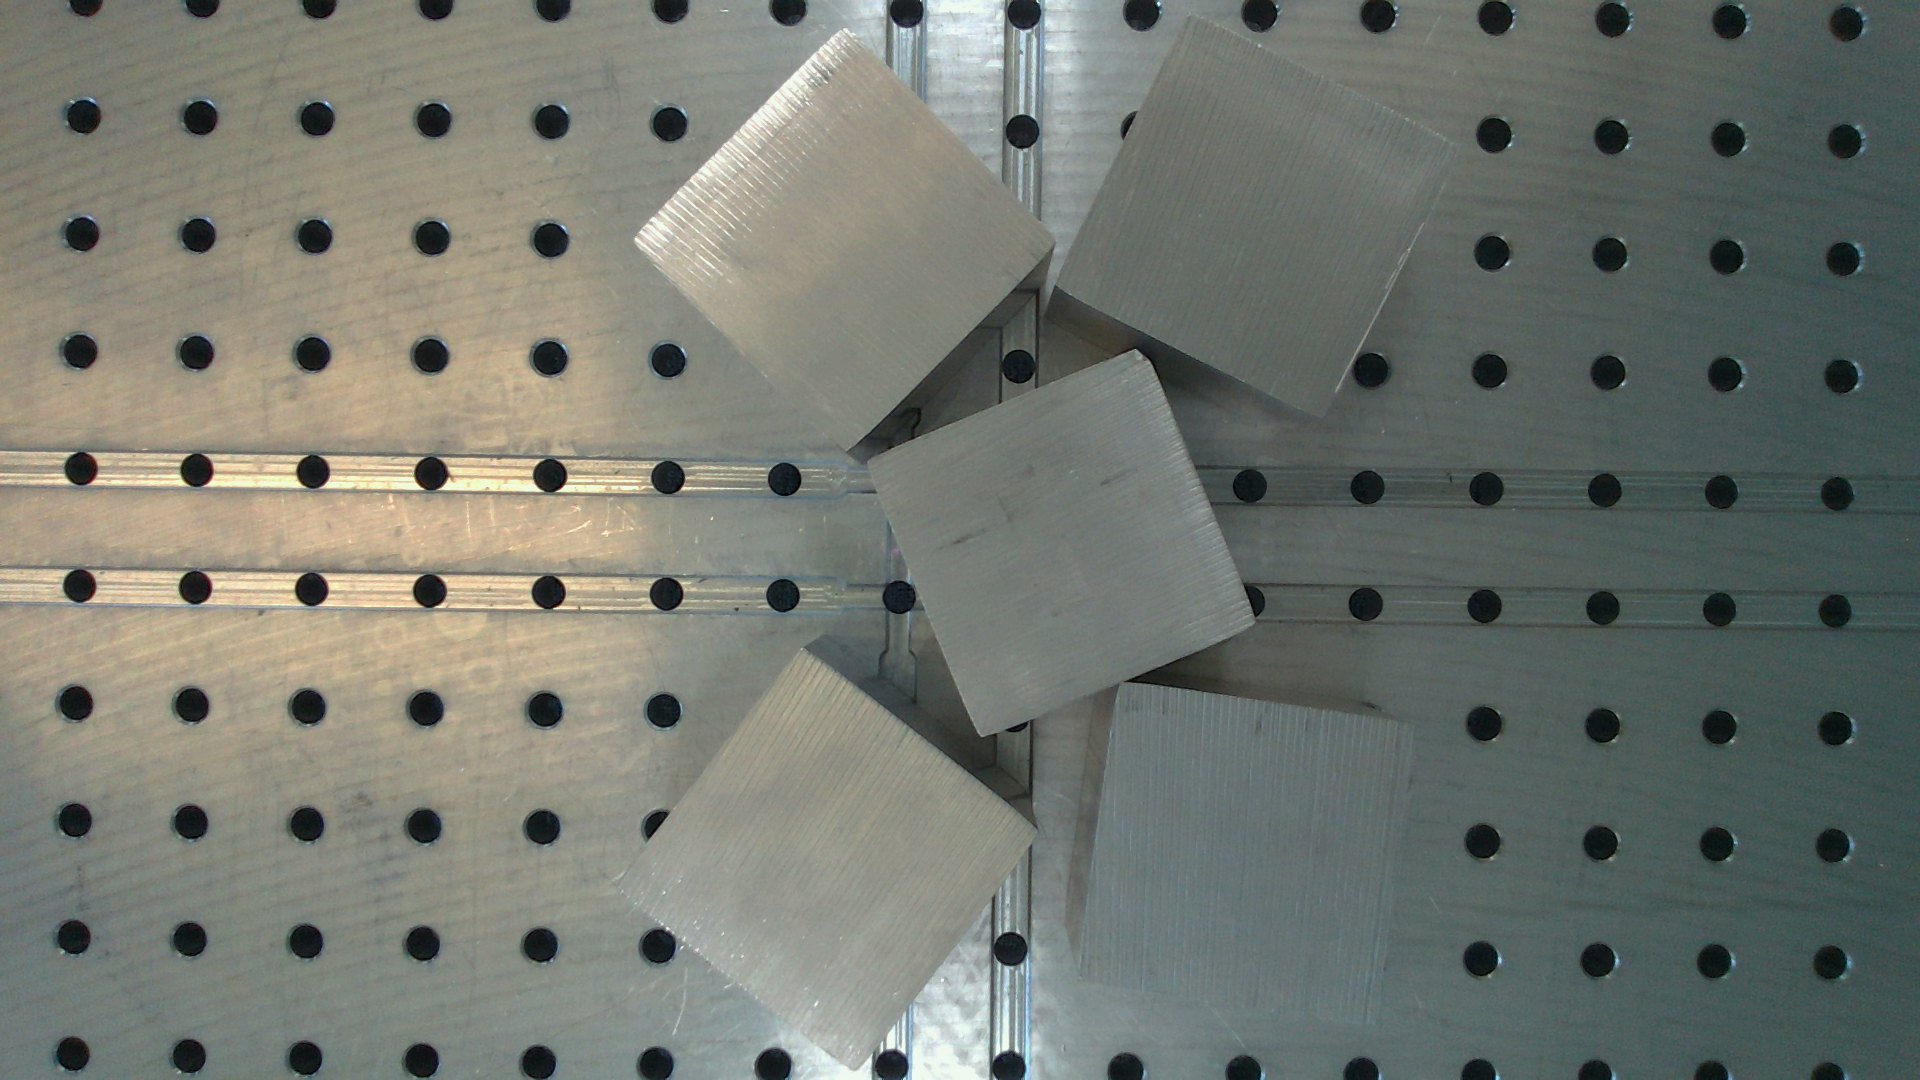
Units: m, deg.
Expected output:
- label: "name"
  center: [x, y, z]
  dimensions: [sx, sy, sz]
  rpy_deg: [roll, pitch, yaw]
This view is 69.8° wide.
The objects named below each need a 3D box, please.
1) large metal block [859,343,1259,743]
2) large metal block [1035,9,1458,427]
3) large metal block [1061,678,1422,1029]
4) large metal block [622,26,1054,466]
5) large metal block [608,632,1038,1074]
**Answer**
- label: "large metal block"
  center: [0.026, 0.001, 0.384]
  dimensions: [0.080, 0.050, 0.080]
  rpy_deg: [-23, 90, 0]
- label: "large metal block"
  center: [0.076, -0.085, 0.384]
  dimensions: [0.080, 0.050, 0.080]
  rpy_deg: [26, 90, -3]
- label: "large metal block"
  center: [0.075, 0.083, 0.385]
  dimensions: [0.080, 0.050, 0.080]
  rpy_deg: [9, 90, -1]
- label: "large metal block"
  center: [-0.032, -0.078, 0.384]
  dimensions: [0.080, 0.050, 0.080]
  rpy_deg: [-44, 90, 0]
- label: "large metal block"
  center: [-0.036, 0.083, 0.384]
  dimensions: [0.080, 0.050, 0.080]
  rpy_deg: [38, 90, 0]
